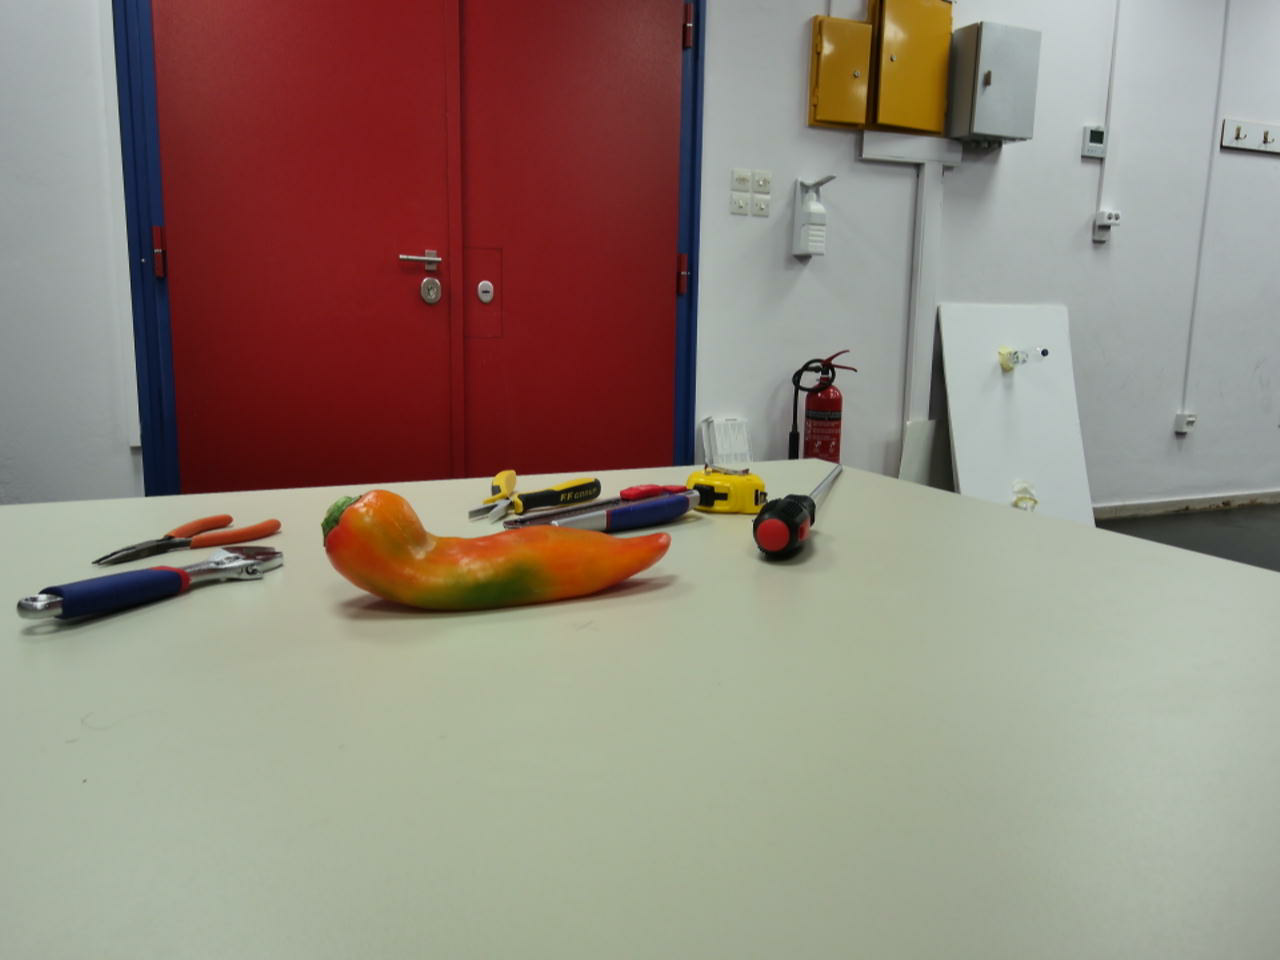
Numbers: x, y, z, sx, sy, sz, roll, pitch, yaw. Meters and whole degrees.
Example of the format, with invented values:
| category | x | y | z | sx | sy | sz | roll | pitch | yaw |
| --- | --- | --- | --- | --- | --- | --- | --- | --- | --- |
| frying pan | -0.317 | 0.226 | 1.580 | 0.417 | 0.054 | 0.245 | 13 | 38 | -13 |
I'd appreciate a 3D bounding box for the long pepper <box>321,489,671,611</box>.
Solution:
| category | x | y | z | sx | sy | sz | roll | pitch | yaw |
| --- | --- | --- | --- | --- | --- | --- | --- | --- | --- |
| long pepper | -0.073 | 0.034 | 0.559 | 0.199 | 0.065 | 0.066 | -3 | 8 | -19 |
